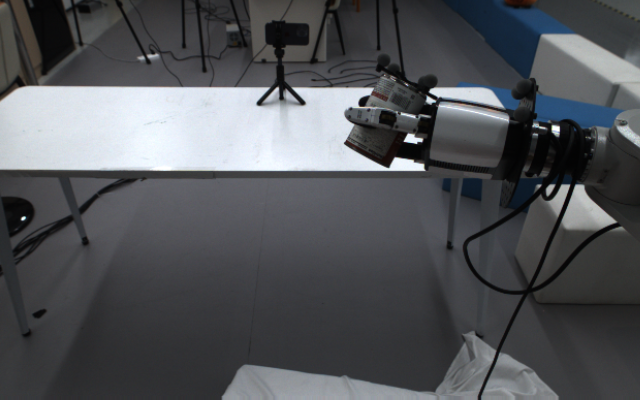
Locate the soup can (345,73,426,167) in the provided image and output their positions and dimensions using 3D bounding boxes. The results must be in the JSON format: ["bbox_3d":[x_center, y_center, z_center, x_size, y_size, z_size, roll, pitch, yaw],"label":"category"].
[{"bbox_3d":[0.085,-0.102,0.626,0.067,0.101,0.067,28,10,-5],"label":"soup can"}]
